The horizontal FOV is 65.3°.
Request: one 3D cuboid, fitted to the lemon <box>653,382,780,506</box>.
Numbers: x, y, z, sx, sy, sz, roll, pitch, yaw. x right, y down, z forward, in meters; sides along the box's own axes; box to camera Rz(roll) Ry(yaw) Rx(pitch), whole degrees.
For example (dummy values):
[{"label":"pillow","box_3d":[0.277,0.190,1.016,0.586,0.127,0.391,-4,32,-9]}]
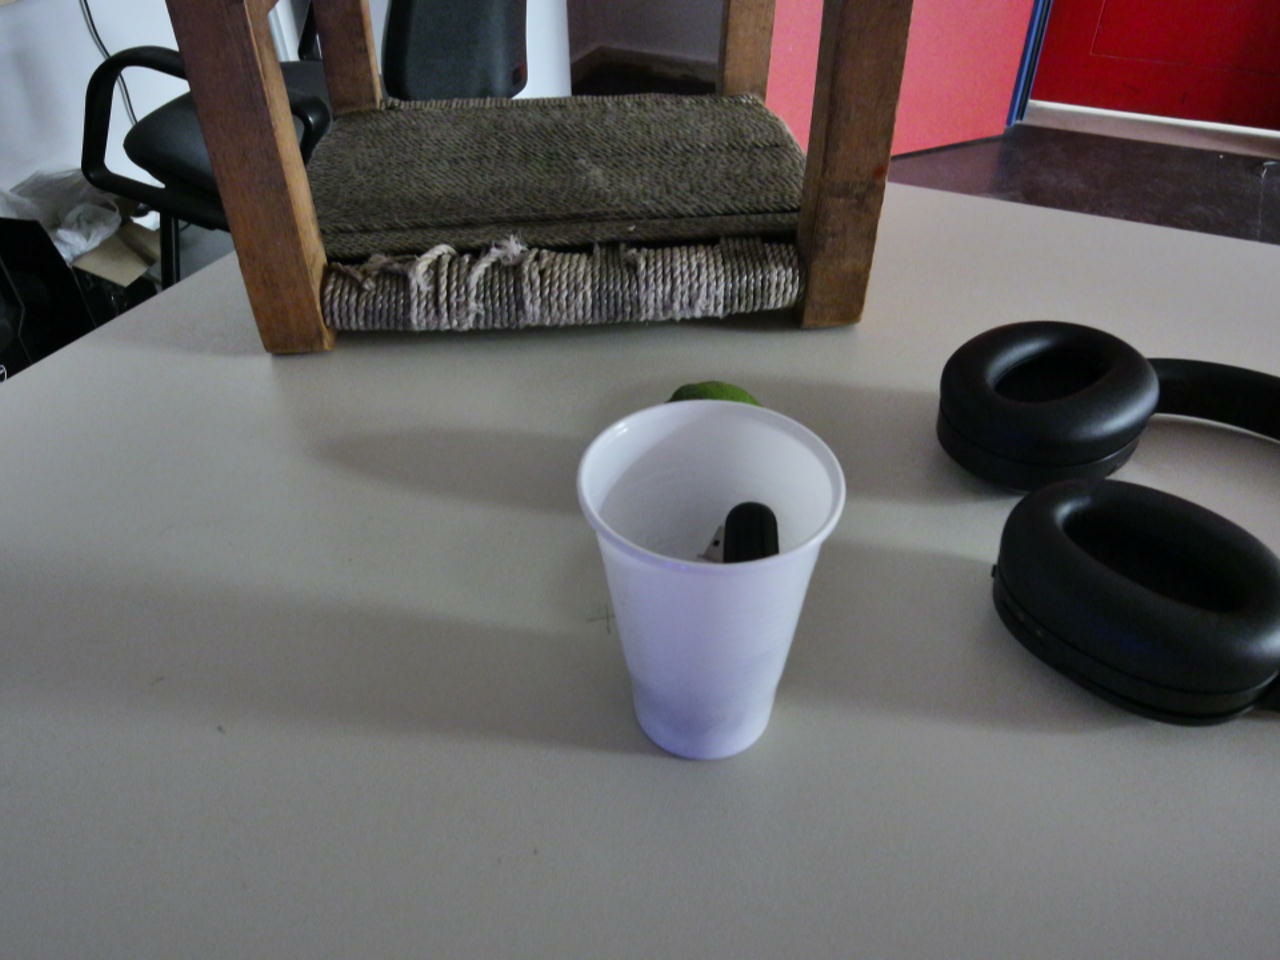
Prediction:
[{"label":"lemon","box_3d":[0.033,-0.017,0.435,0.057,0.051,0.054,14,40,18]}]
